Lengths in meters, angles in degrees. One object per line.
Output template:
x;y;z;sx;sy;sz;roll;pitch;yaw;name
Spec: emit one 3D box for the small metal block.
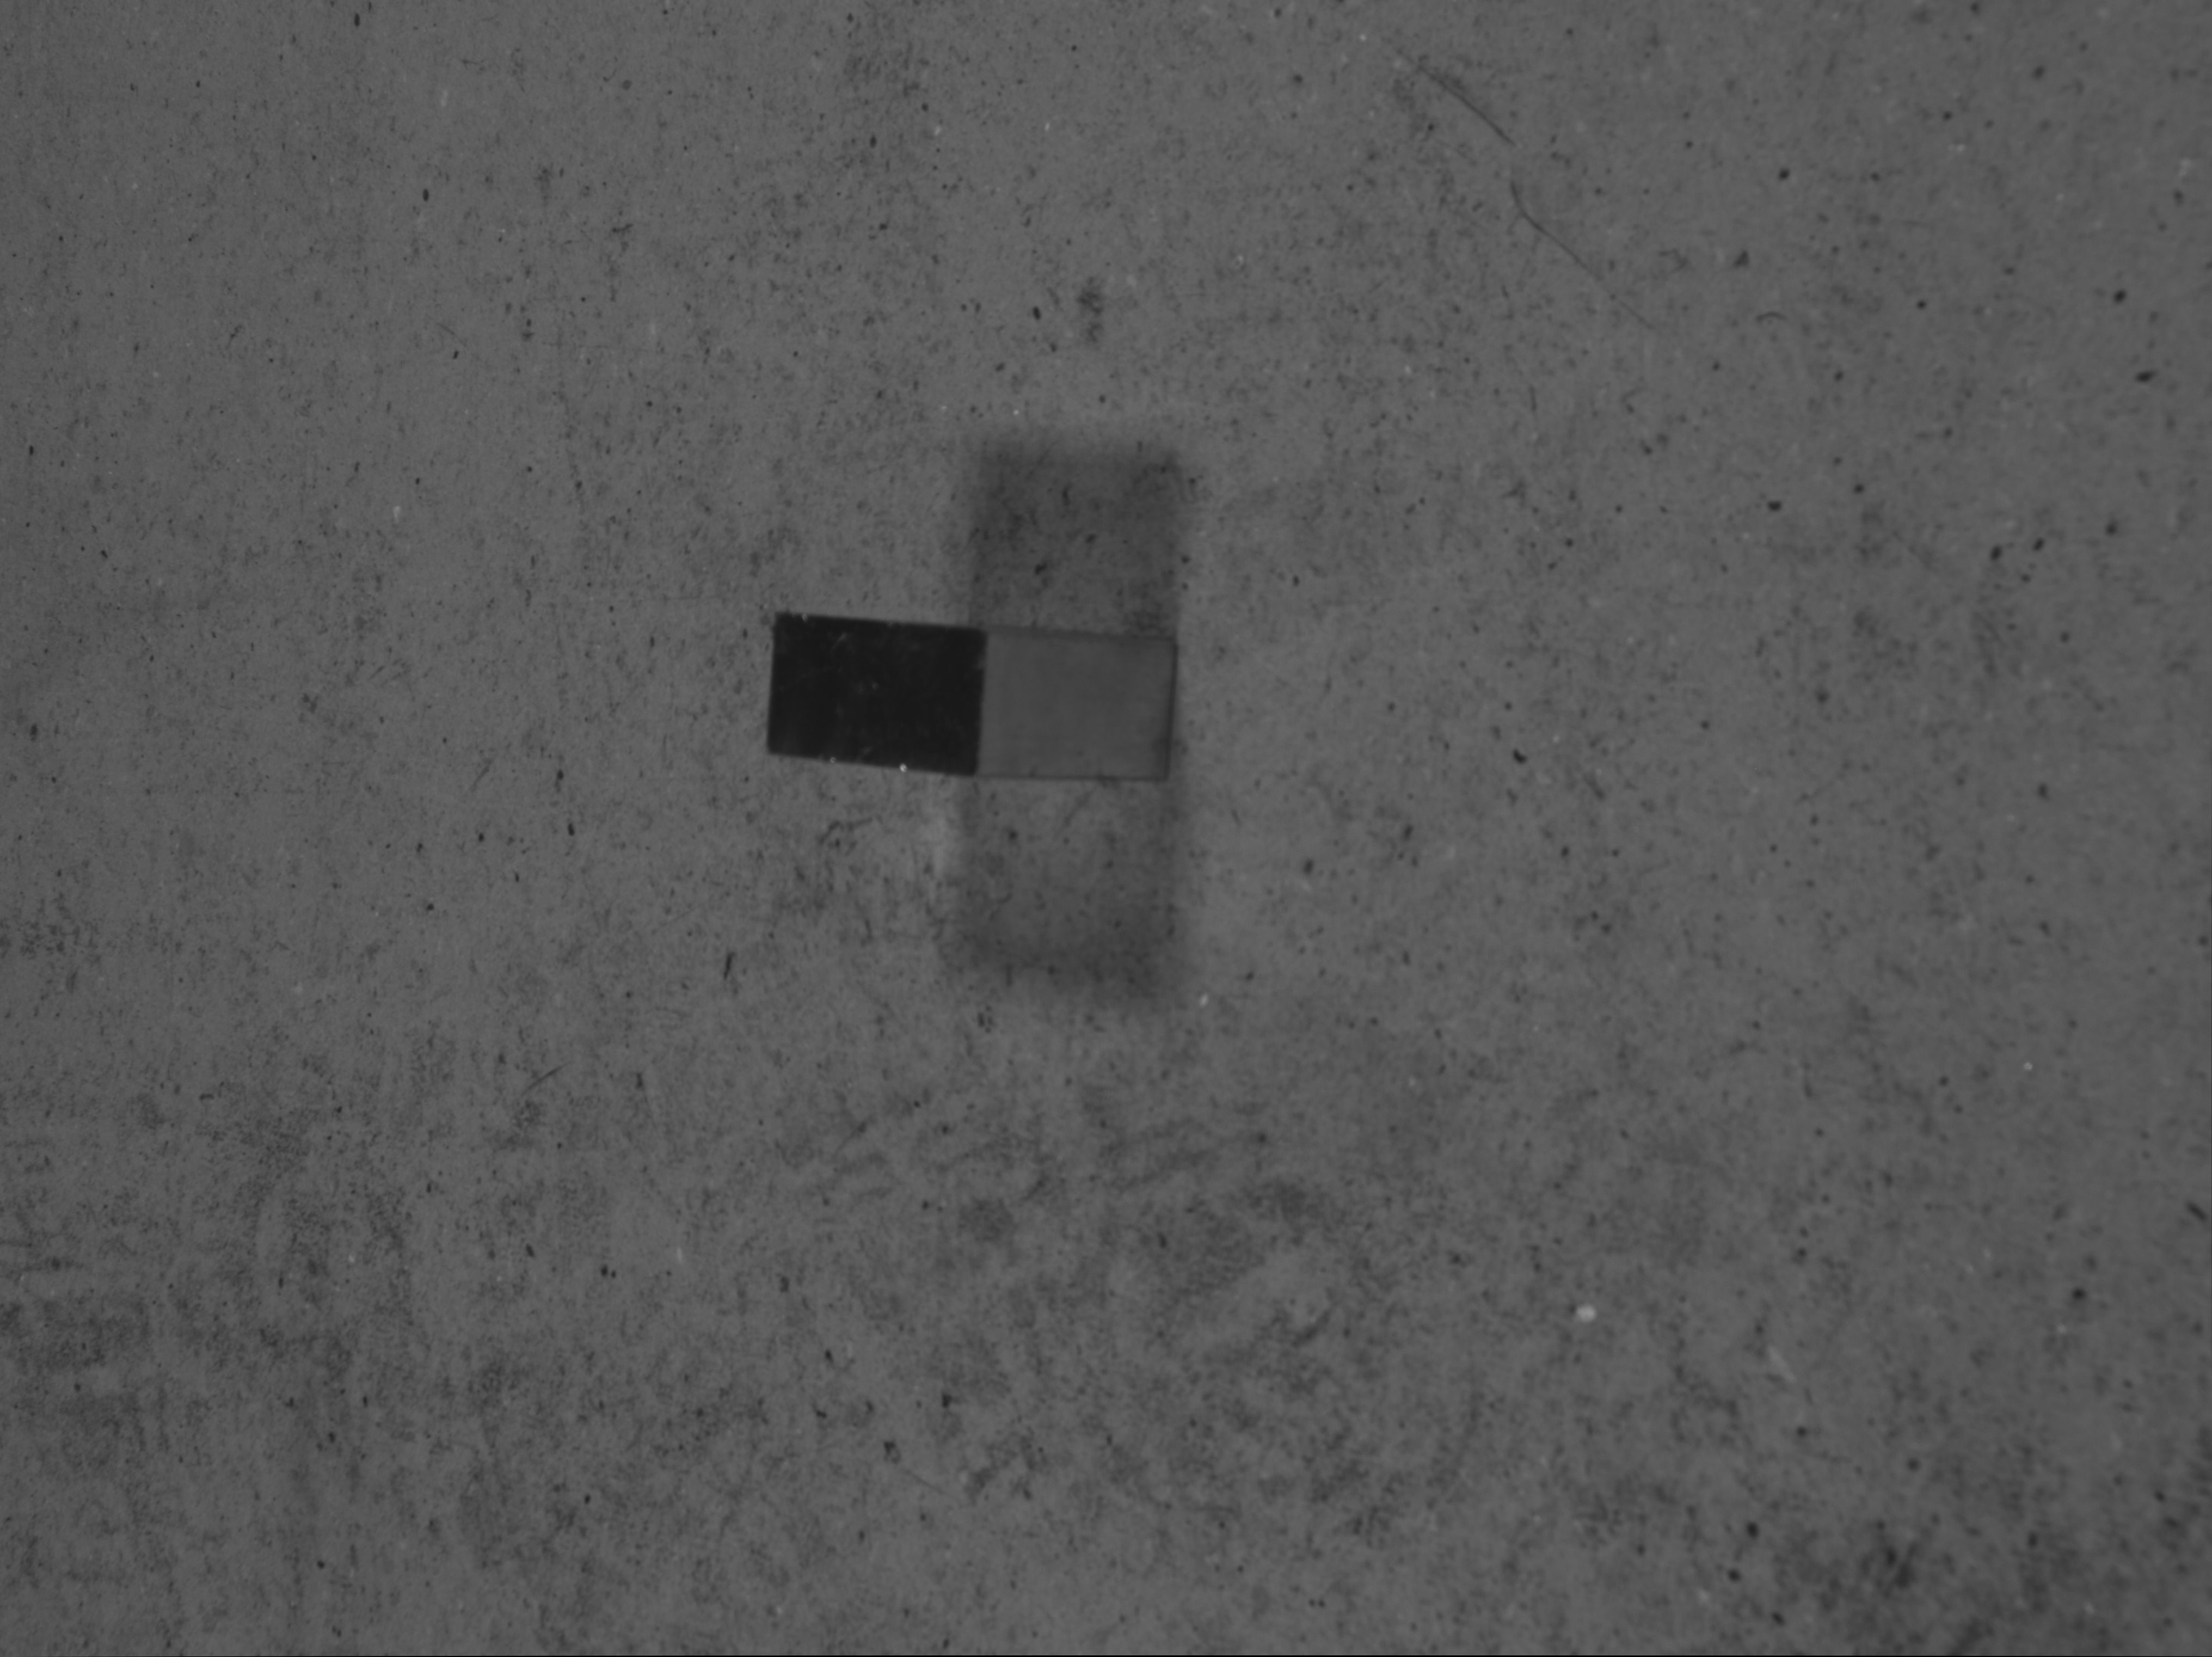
-0.027;-0.023;0.642;0.050;0.050;0.025;7;94;39;small metal block
